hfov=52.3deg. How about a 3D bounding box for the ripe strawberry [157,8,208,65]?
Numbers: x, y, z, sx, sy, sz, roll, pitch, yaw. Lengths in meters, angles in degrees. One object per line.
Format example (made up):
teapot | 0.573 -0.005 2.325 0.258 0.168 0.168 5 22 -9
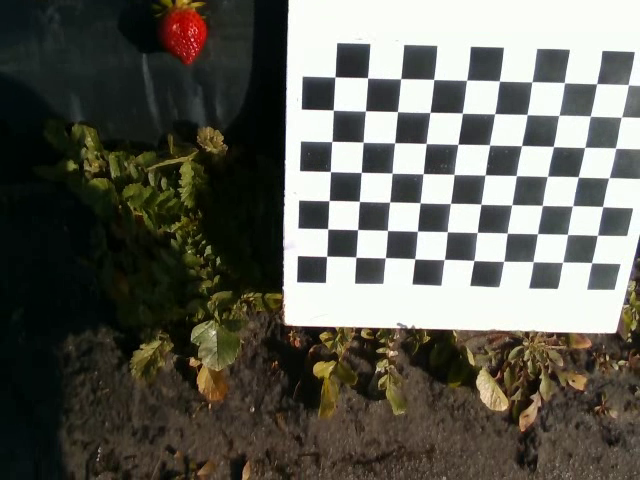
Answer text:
ripe strawberry | -0.094 -0.138 0.444 0.040 0.044 0.037 -16 8 6
